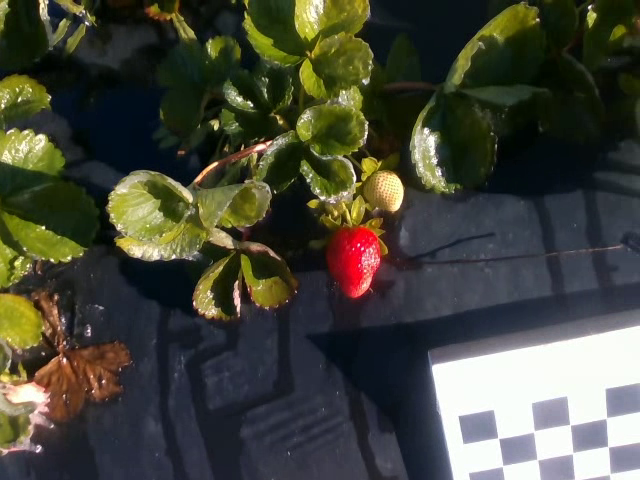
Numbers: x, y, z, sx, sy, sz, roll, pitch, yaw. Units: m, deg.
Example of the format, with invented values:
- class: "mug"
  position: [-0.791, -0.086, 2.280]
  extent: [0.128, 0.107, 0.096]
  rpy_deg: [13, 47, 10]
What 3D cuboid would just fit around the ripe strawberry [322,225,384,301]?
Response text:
- class: "ripe strawberry"
  position: [0.020, 0.015, 0.304]
  extent: [0.039, 0.039, 0.040]
  rpy_deg: [-17, -44, 19]
